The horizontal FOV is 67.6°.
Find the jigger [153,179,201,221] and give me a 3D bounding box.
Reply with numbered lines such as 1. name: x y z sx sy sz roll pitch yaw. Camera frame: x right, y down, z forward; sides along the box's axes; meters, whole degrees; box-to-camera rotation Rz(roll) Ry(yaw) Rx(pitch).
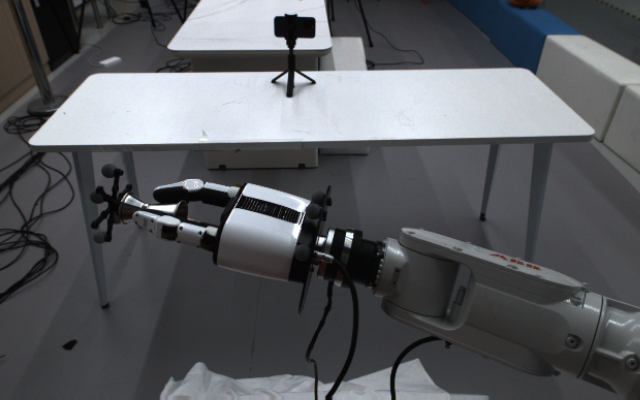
1. jigger: -0.192 0.014 0.582 0.071 0.043 0.043 10 35 3
